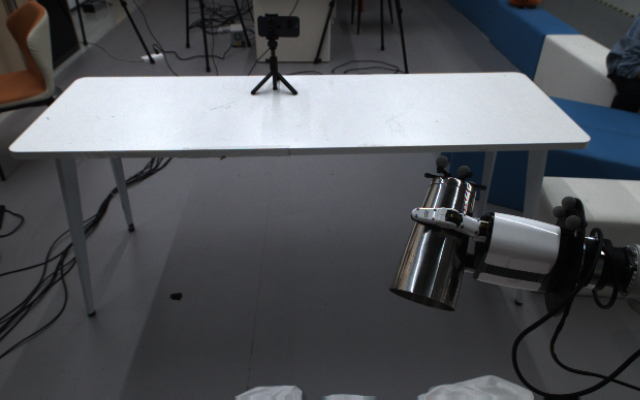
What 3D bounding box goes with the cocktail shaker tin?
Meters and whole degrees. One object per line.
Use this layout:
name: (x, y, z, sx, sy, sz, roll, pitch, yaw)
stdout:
cocktail shaker tin: (0.166, 0.057, 0.673, 0.093, 0.093, 0.170, 15, 74, 18)
